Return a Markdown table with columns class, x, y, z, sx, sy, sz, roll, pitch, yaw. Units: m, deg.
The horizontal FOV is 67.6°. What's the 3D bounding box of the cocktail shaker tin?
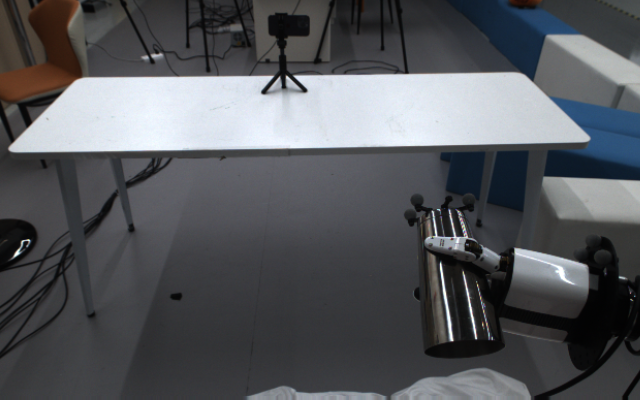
| class | x | y | z | sx | sy | sz | roll | pitch | yaw |
| --- | --- | --- | --- | --- | --- | --- | --- | --- | --- |
| cocktail shaker tin | 0.164 | 0.098 | 0.598 | 0.093 | 0.093 | 0.170 | 0 | 59 | -3 |
